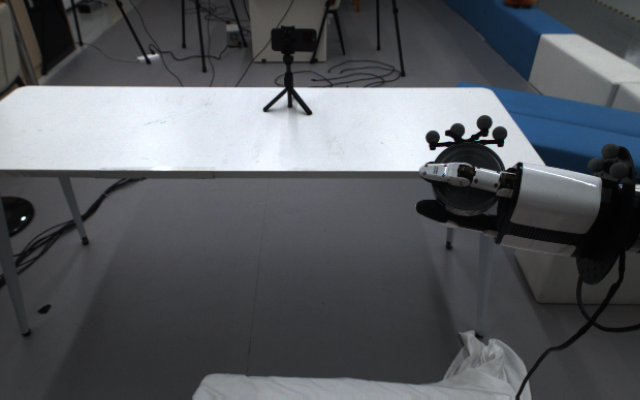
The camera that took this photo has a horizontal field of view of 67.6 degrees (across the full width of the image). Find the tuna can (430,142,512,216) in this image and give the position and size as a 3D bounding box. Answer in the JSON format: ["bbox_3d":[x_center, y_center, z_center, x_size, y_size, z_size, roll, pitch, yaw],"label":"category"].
[{"bbox_3d":[0.179,-0.026,0.588,0.085,0.034,0.085,-5,71,15],"label":"tuna can"}]
